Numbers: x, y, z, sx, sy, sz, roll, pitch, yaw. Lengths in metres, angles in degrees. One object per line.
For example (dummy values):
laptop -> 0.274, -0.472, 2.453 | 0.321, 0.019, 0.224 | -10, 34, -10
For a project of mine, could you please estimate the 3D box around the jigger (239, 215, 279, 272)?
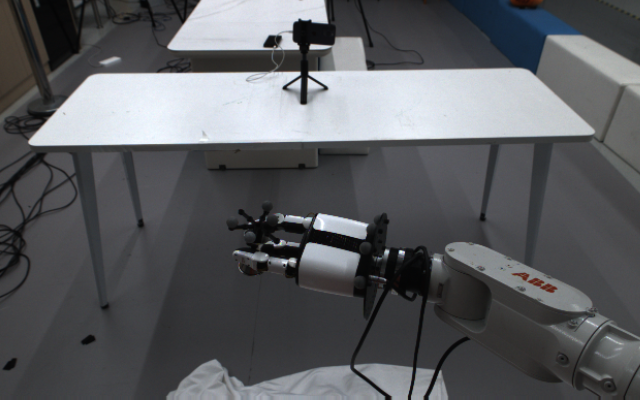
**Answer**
jigger -> -0.102, 0.079, 0.752 | 0.043, 0.071, 0.043 | 10, 36, -7
